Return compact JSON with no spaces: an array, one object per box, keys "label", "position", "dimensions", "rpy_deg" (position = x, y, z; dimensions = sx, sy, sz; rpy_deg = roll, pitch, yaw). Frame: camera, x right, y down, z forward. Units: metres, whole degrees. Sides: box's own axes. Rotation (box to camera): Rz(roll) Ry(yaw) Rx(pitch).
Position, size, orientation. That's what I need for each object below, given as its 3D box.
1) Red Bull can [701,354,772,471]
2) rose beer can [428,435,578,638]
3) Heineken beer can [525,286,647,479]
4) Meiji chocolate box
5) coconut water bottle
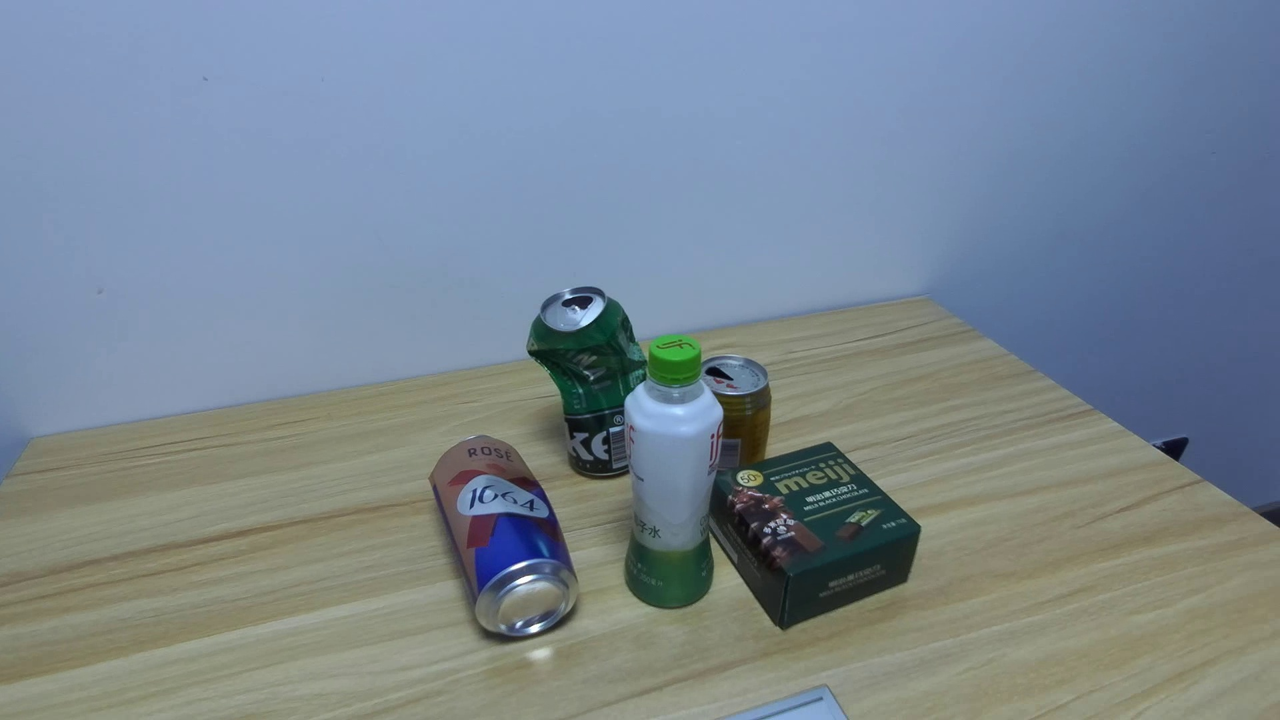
[{"label":"Red Bull can","position":[0.073,0.050,0.588],"dimensions":[0.069,0.092,0.069],"rpy_deg":[1,29,0]},{"label":"rose beer can","position":[-0.100,0.117,0.510],"dimensions":[0.070,0.069,0.167],"rpy_deg":[-30,36,-8]},{"label":"Heineken beer can","position":[-0.033,0.019,0.580],"dimensions":[0.079,0.159,0.067],"rpy_deg":[-31,39,-28]},{"label":"Meiji chocolate box","position":[0.122,0.122,0.513],"dimensions":[0.110,0.056,0.108],"rpy_deg":[-12,32,-19]},{"label":"coconut water bottle","position":[0.021,0.074,0.456],"dimensions":[0.063,0.189,0.063],"rpy_deg":[0,31,0]}]
